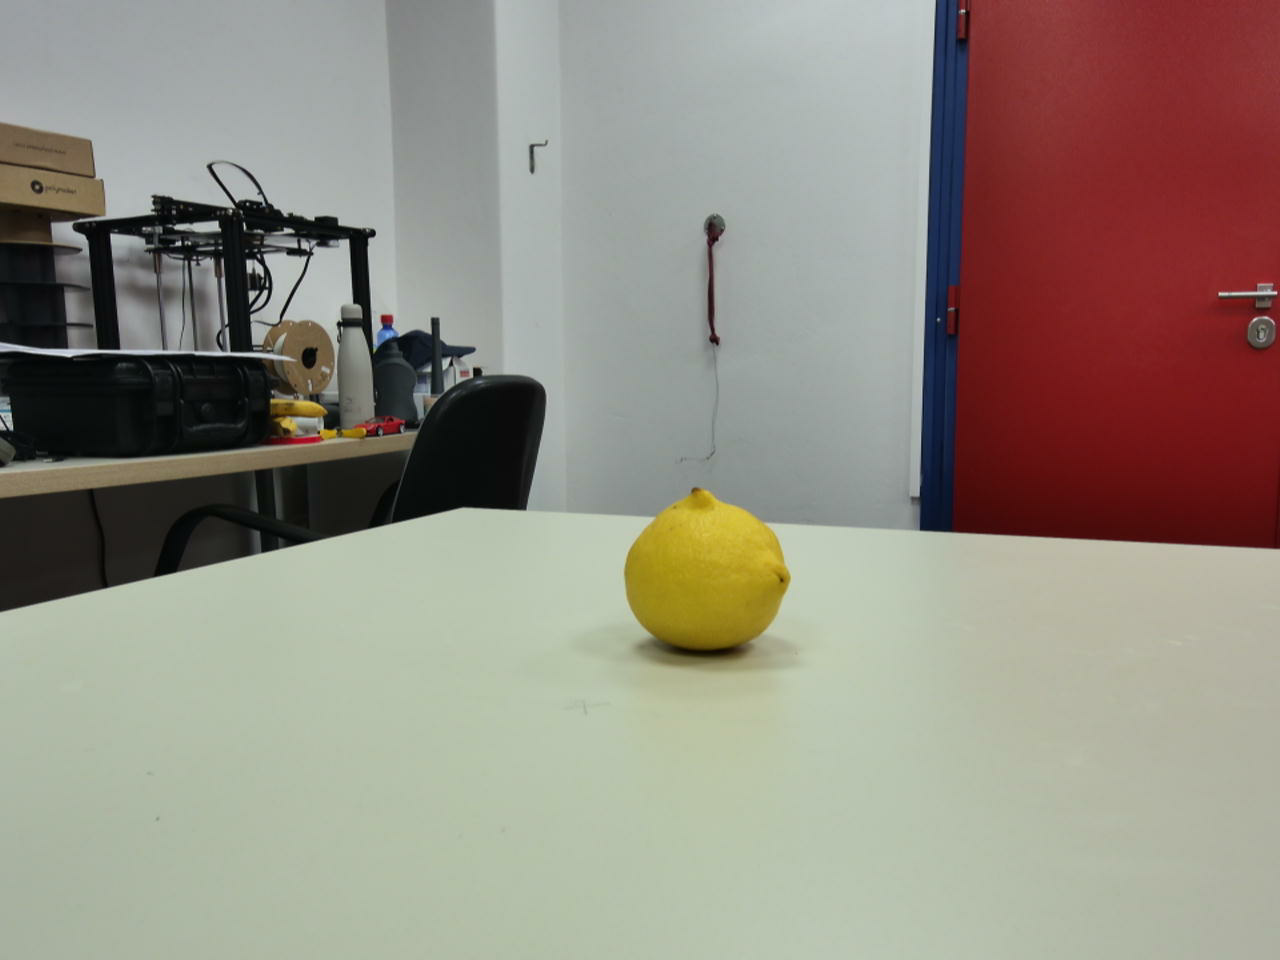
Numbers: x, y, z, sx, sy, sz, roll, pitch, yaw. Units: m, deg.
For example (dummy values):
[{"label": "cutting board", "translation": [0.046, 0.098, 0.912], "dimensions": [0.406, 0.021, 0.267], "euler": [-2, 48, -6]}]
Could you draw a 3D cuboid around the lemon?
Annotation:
[{"label": "lemon", "translation": [0.029, 0.039, 0.446], "dimensions": [0.070, 0.071, 0.071], "euler": [-1, 4, -9]}]
